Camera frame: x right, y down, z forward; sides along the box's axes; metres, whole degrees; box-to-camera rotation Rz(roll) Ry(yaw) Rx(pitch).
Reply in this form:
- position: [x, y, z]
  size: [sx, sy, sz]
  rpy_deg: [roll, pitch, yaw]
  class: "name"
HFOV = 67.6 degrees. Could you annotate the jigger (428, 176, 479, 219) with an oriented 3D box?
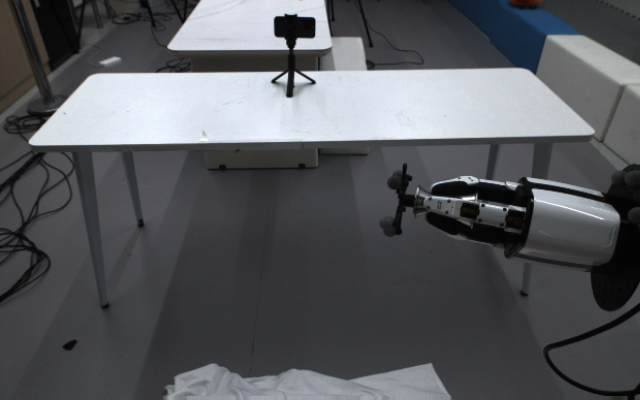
- position: [0.150, 0.001, 0.567]
  size: [0.071, 0.043, 0.043]
  rpy_deg: [8, 35, 16]
  class: "jigger"
